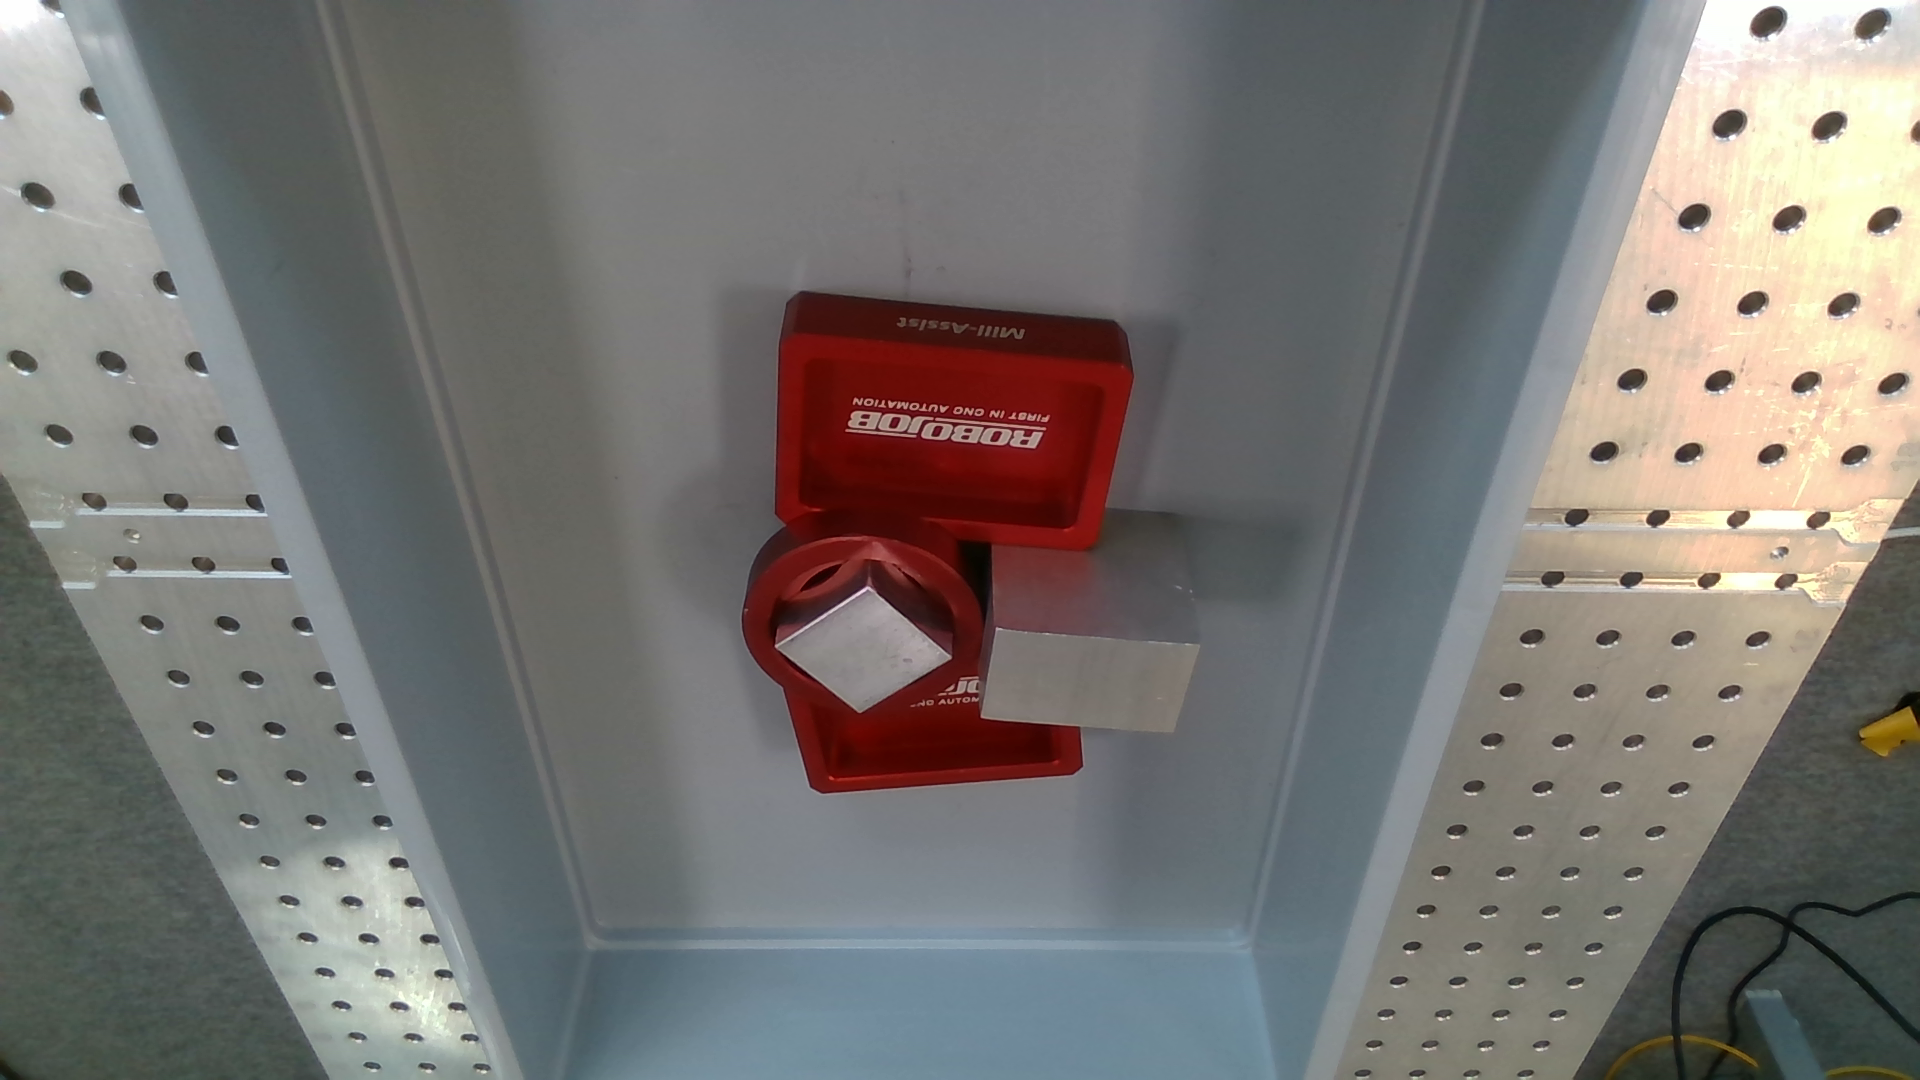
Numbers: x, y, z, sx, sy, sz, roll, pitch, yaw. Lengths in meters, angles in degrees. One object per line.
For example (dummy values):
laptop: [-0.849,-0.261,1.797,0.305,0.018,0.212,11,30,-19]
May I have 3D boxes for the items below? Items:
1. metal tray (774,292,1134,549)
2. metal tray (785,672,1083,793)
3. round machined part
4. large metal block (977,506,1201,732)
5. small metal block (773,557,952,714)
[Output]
metal tray: [-0.005,-0.045,0.537,0.130,0.030,0.090,5,130,-4]
metal tray: [-0.011,0.072,0.635,0.130,0.030,0.090,-5,130,4]
round machined part: [-0.040,0.024,0.575,0.098,0.042,0.098,0,130,0]
large metal block: [0.049,0.030,0.567,0.080,0.080,0.050,5,130,-4]
small metal block: [-0.038,0.037,0.554,0.050,0.025,0.050,-32,123,24]
